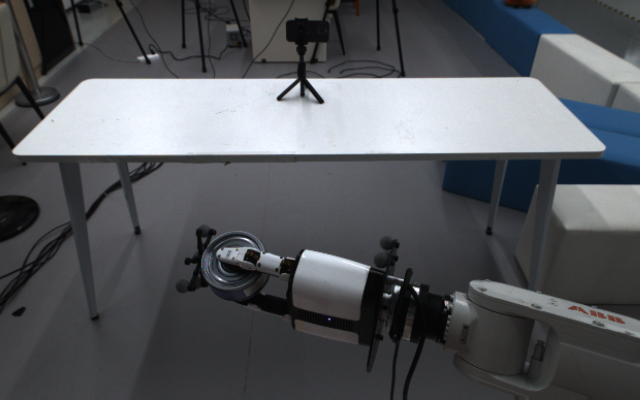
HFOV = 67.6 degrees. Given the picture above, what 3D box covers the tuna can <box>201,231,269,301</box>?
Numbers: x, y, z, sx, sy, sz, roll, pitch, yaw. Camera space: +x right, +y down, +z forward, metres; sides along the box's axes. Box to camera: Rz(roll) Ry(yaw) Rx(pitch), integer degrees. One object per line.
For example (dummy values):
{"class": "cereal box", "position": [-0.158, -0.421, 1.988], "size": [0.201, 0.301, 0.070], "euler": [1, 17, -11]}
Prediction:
{"class": "tuna can", "position": [-0.104, 0.083, 0.619], "size": [0.085, 0.034, 0.085], "euler": [-2, 58, 3]}
